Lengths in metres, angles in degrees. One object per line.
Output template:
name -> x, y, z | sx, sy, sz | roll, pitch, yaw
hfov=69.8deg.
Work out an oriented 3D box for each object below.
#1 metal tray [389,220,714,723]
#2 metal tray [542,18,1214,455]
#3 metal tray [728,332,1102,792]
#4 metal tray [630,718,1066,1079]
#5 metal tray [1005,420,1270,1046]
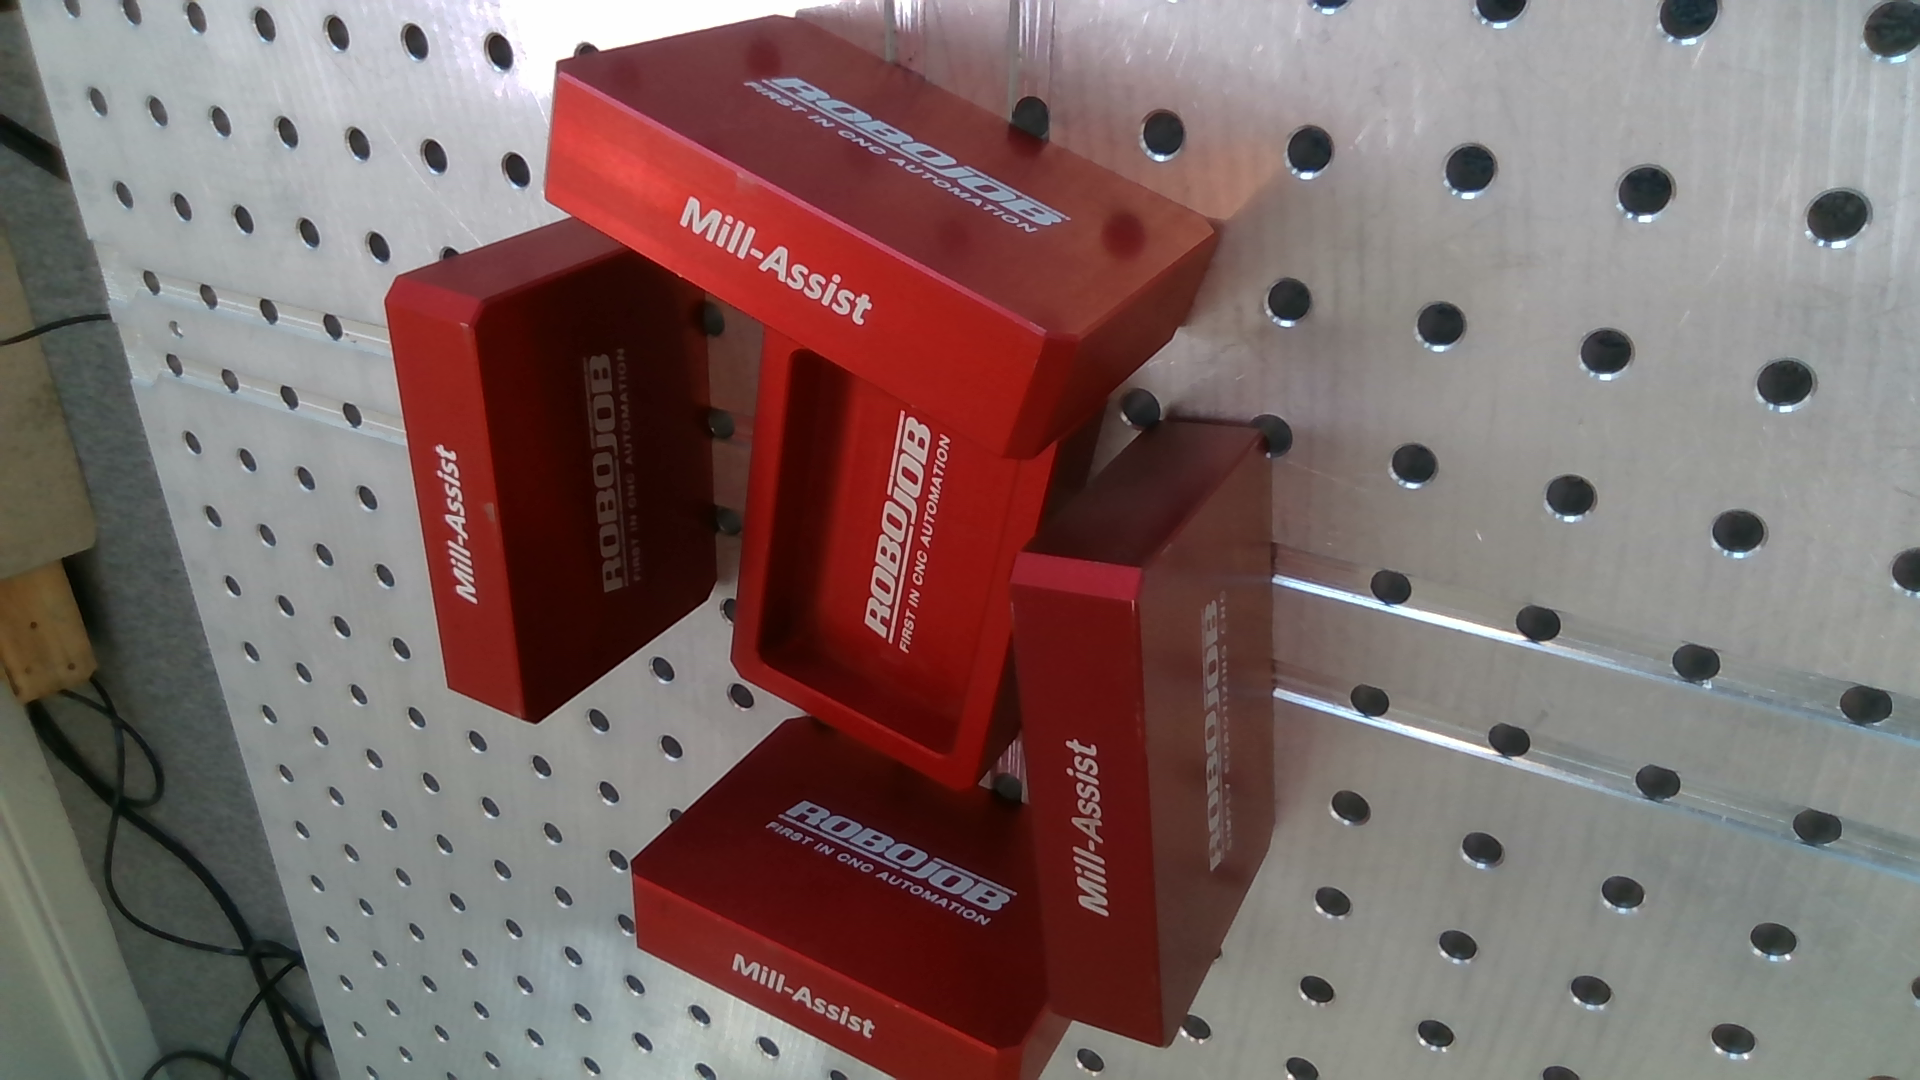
metal tray -> -0.114, -0.023, 0.407 | 0.030, 0.090, 0.130 | 18, 123, 23
metal tray -> -0.017, -0.076, 0.318 | 0.130, 0.090, 0.030 | 30, 127, 14
metal tray -> -0.018, 0.000, 0.398 | 0.090, 0.030, 0.130 | 24, 126, 18
metal tray -> -0.023, 0.110, 0.423 | 0.130, 0.090, 0.030 | 18, 123, 22
metal tray -> 0.050, 0.046, 0.343 | 0.030, 0.090, 0.130 | 8, 119, 28
